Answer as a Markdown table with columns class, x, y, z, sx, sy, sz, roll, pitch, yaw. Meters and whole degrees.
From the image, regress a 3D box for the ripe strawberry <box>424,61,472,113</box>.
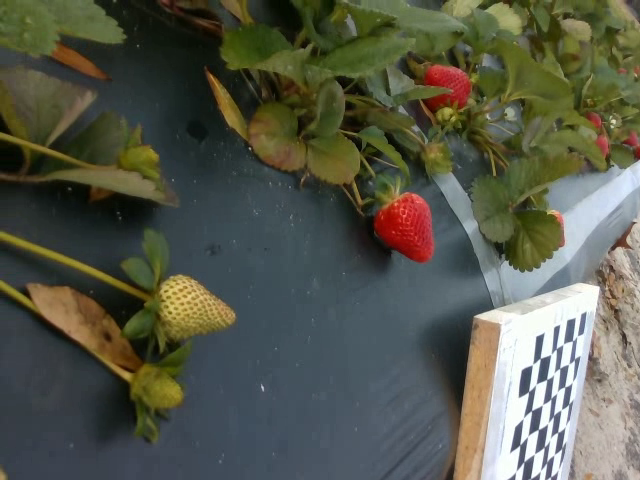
| class | x | y | z | sx | sy | sz | roll | pitch | yaw |
| --- | --- | --- | --- | --- | --- | --- | --- | --- | --- |
| ripe strawberry | 0.108 | -0.139 | 0.514 | 0.062 | 0.043 | 0.042 | 25 | -5 | -43 |

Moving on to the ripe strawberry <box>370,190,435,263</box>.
| class | x | y | z | sx | sy | sz | roll | pitch | yaw |
| --- | --- | --- | --- | --- | --- | --- | --- | --- | --- |
| ripe strawberry | 0.052 | -0.008 | 0.337 | 0.036 | 0.046 | 0.040 | -19 | -22 | -36 |
